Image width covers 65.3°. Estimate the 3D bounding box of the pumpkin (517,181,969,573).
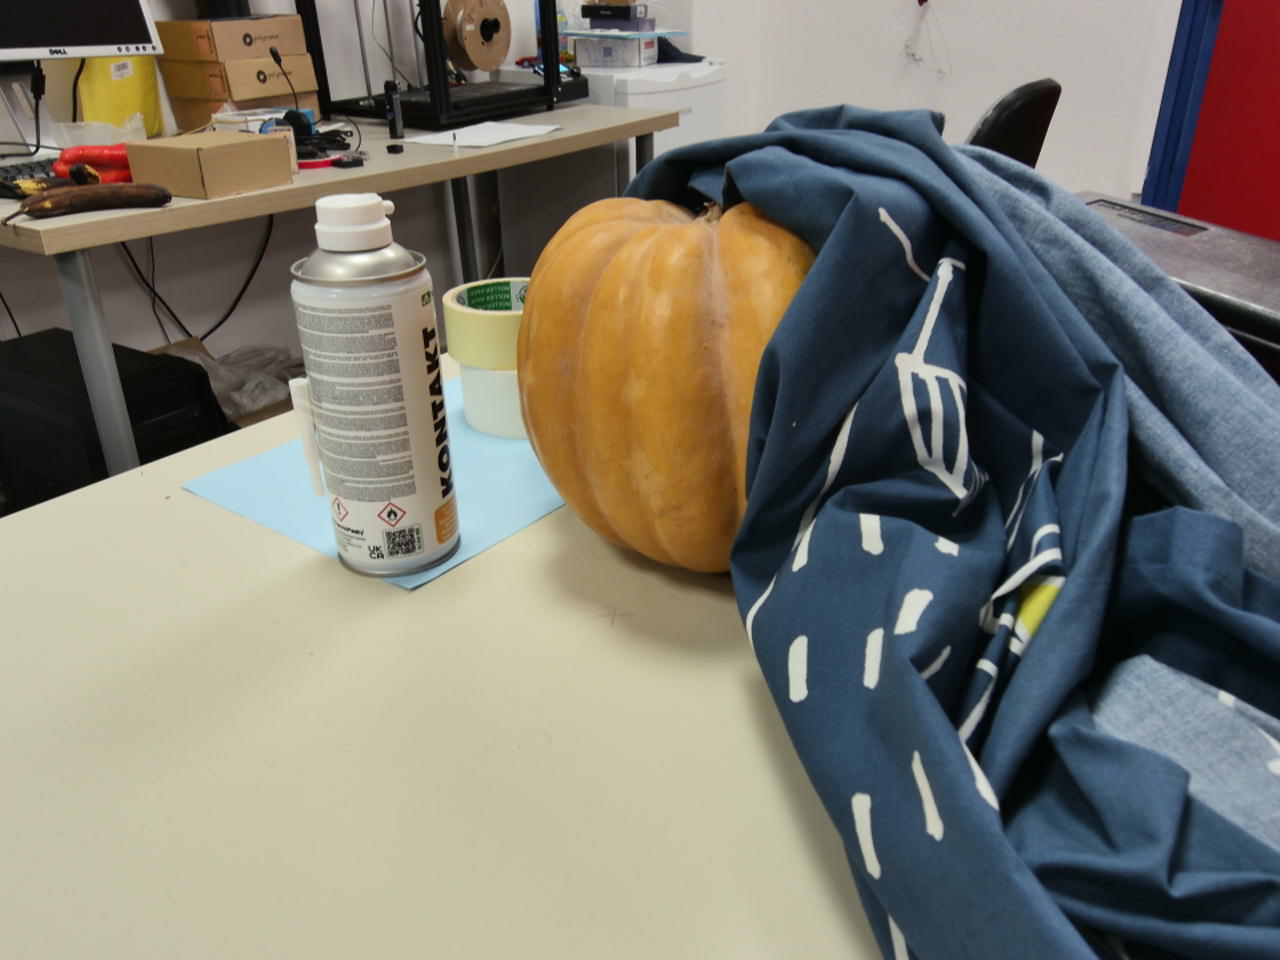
[{"bbox_3d":[0.049,-0.056,0.514,0.230,0.194,0.230,0,25,0],"label":"pumpkin"}]
